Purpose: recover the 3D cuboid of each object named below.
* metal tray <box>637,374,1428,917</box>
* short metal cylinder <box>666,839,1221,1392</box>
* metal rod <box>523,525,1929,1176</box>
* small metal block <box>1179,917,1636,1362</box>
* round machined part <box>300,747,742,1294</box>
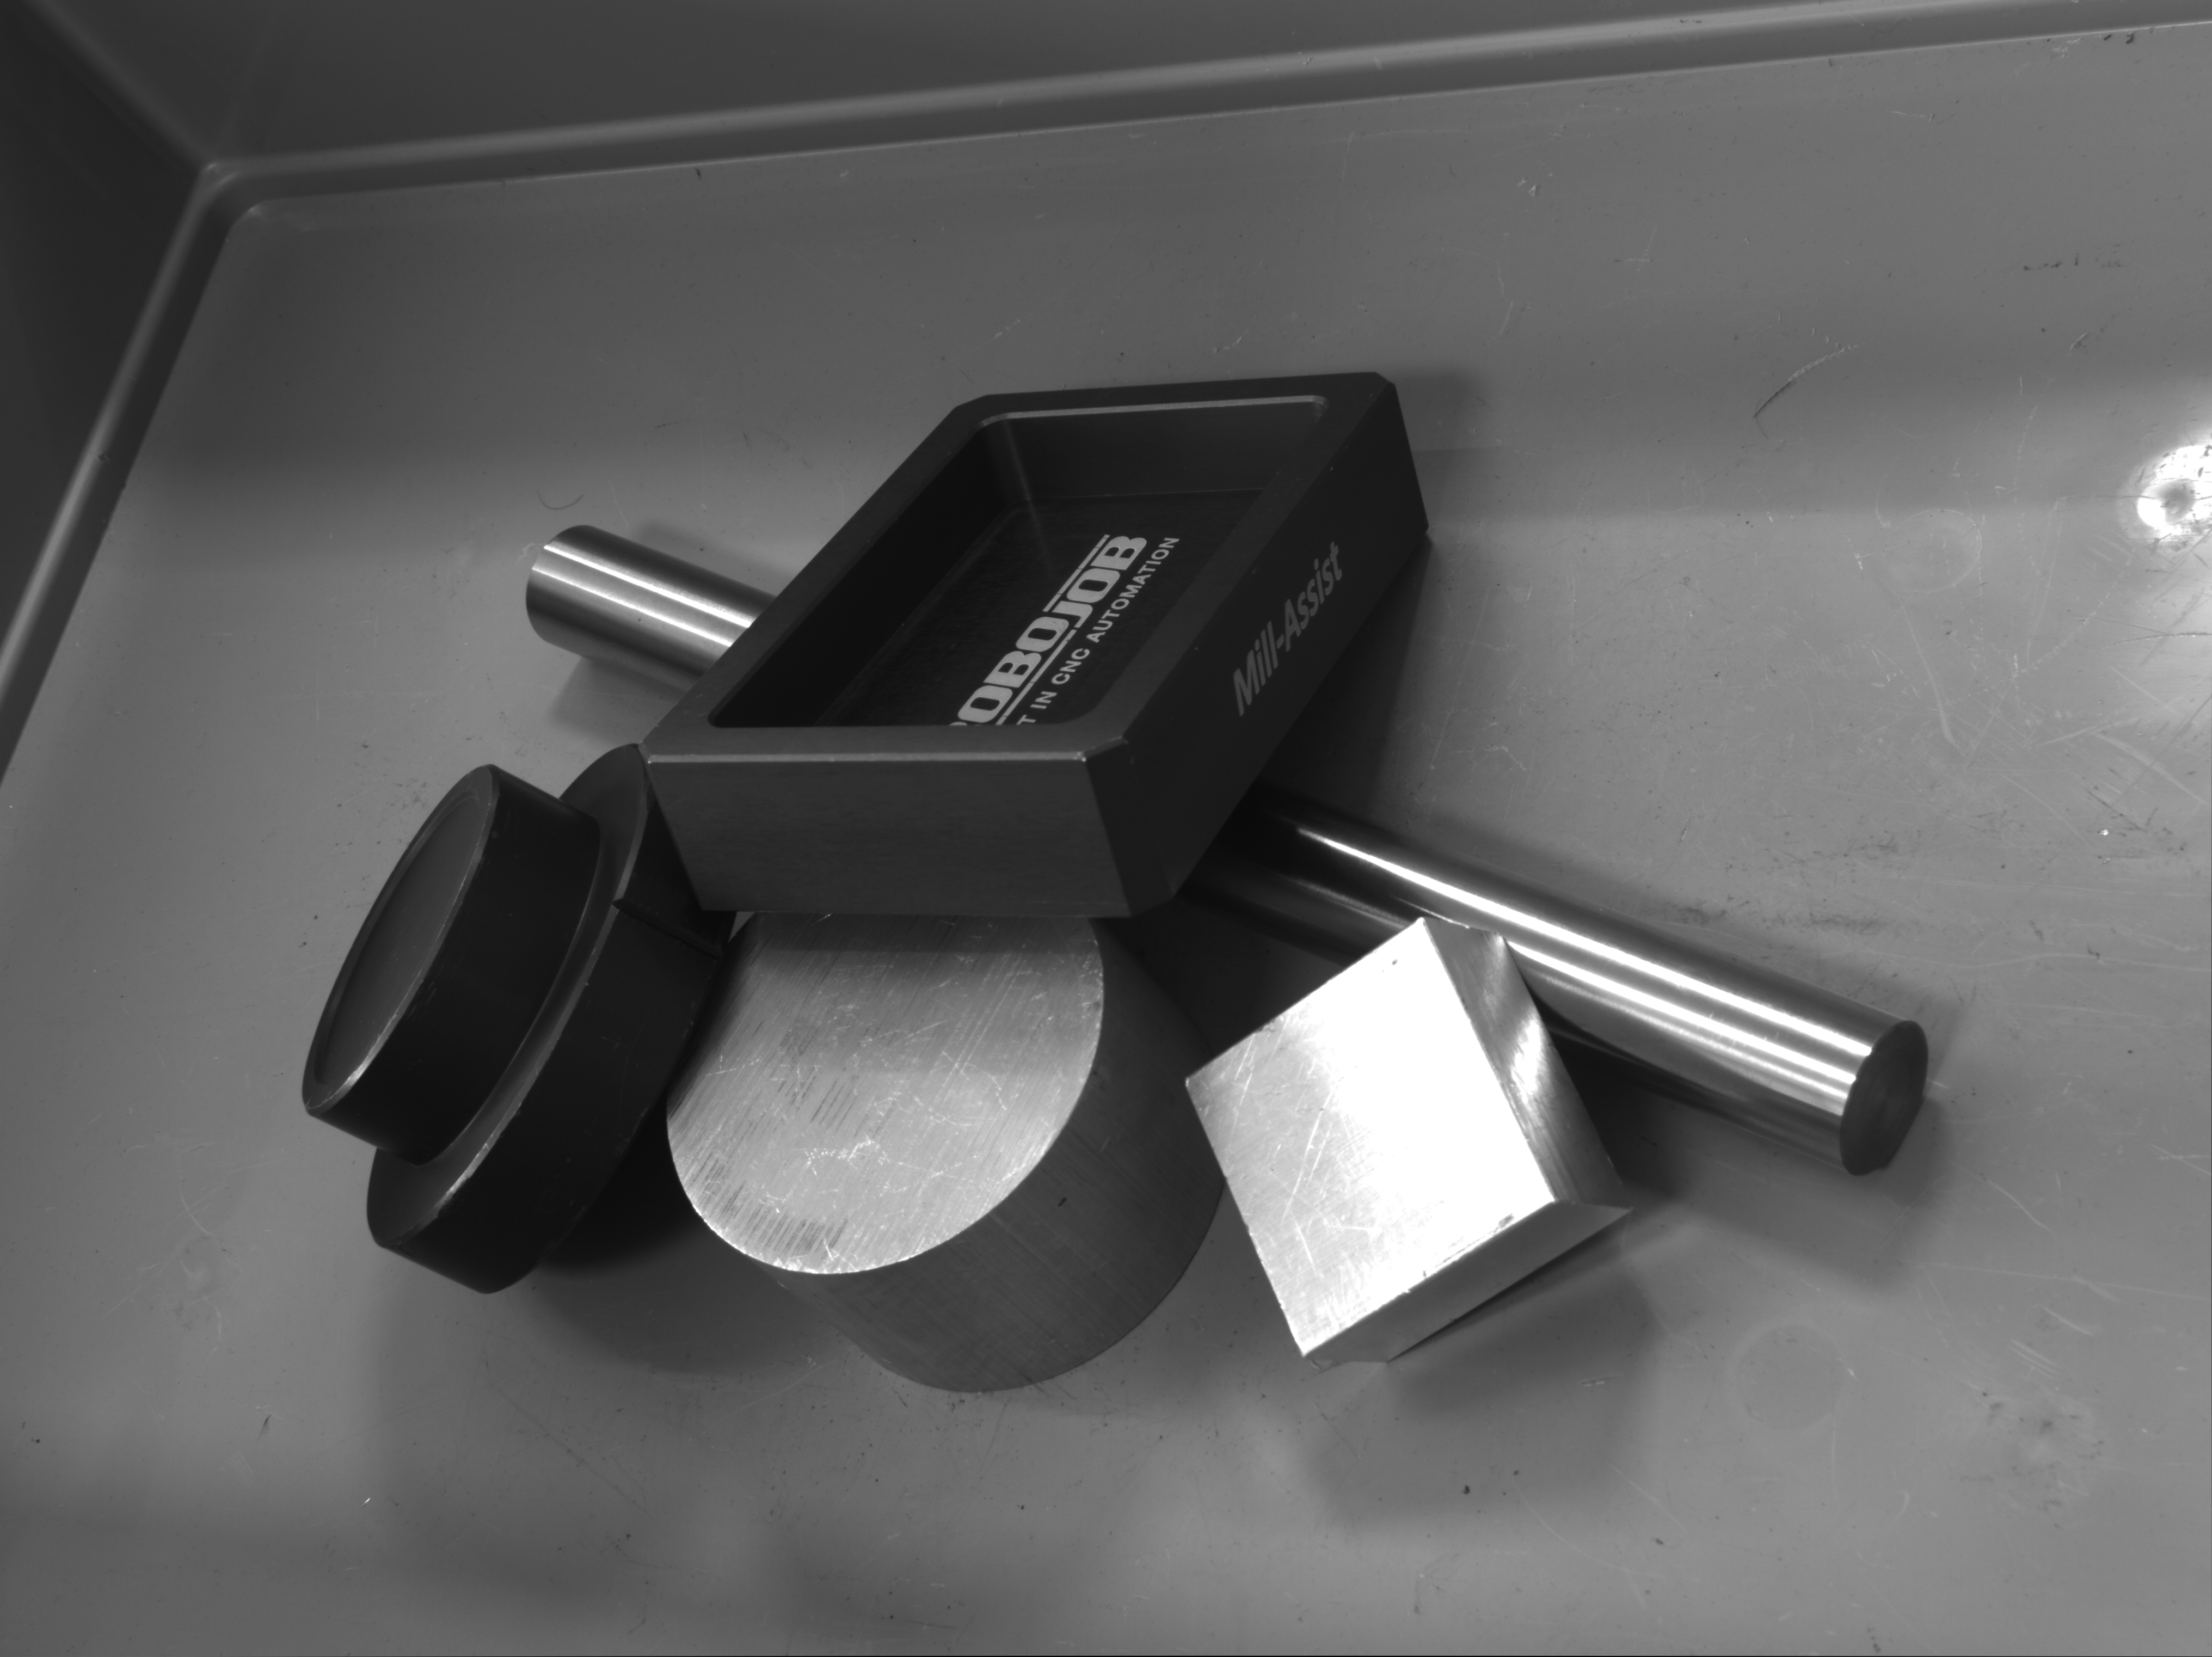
[{"bbox_3d":[-0.009,-0.034,0.628,0.090,0.030,0.130,0,33,28],"label":"metal tray"},{"bbox_3d":[-0.026,0.047,0.613,0.080,0.050,0.080,-14,56,21],"label":"short metal cylinder"},{"bbox_3d":[0.006,-0.004,0.643,0.299,0.025,0.025,22,73,36],"label":"metal rod"},{"bbox_3d":[0.047,0.049,0.574,0.050,0.025,0.050,-36,65,25],"label":"small metal block"},{"bbox_3d":[-0.106,0.028,0.642,0.098,0.042,0.098,-48,24,30],"label":"round machined part"}]
